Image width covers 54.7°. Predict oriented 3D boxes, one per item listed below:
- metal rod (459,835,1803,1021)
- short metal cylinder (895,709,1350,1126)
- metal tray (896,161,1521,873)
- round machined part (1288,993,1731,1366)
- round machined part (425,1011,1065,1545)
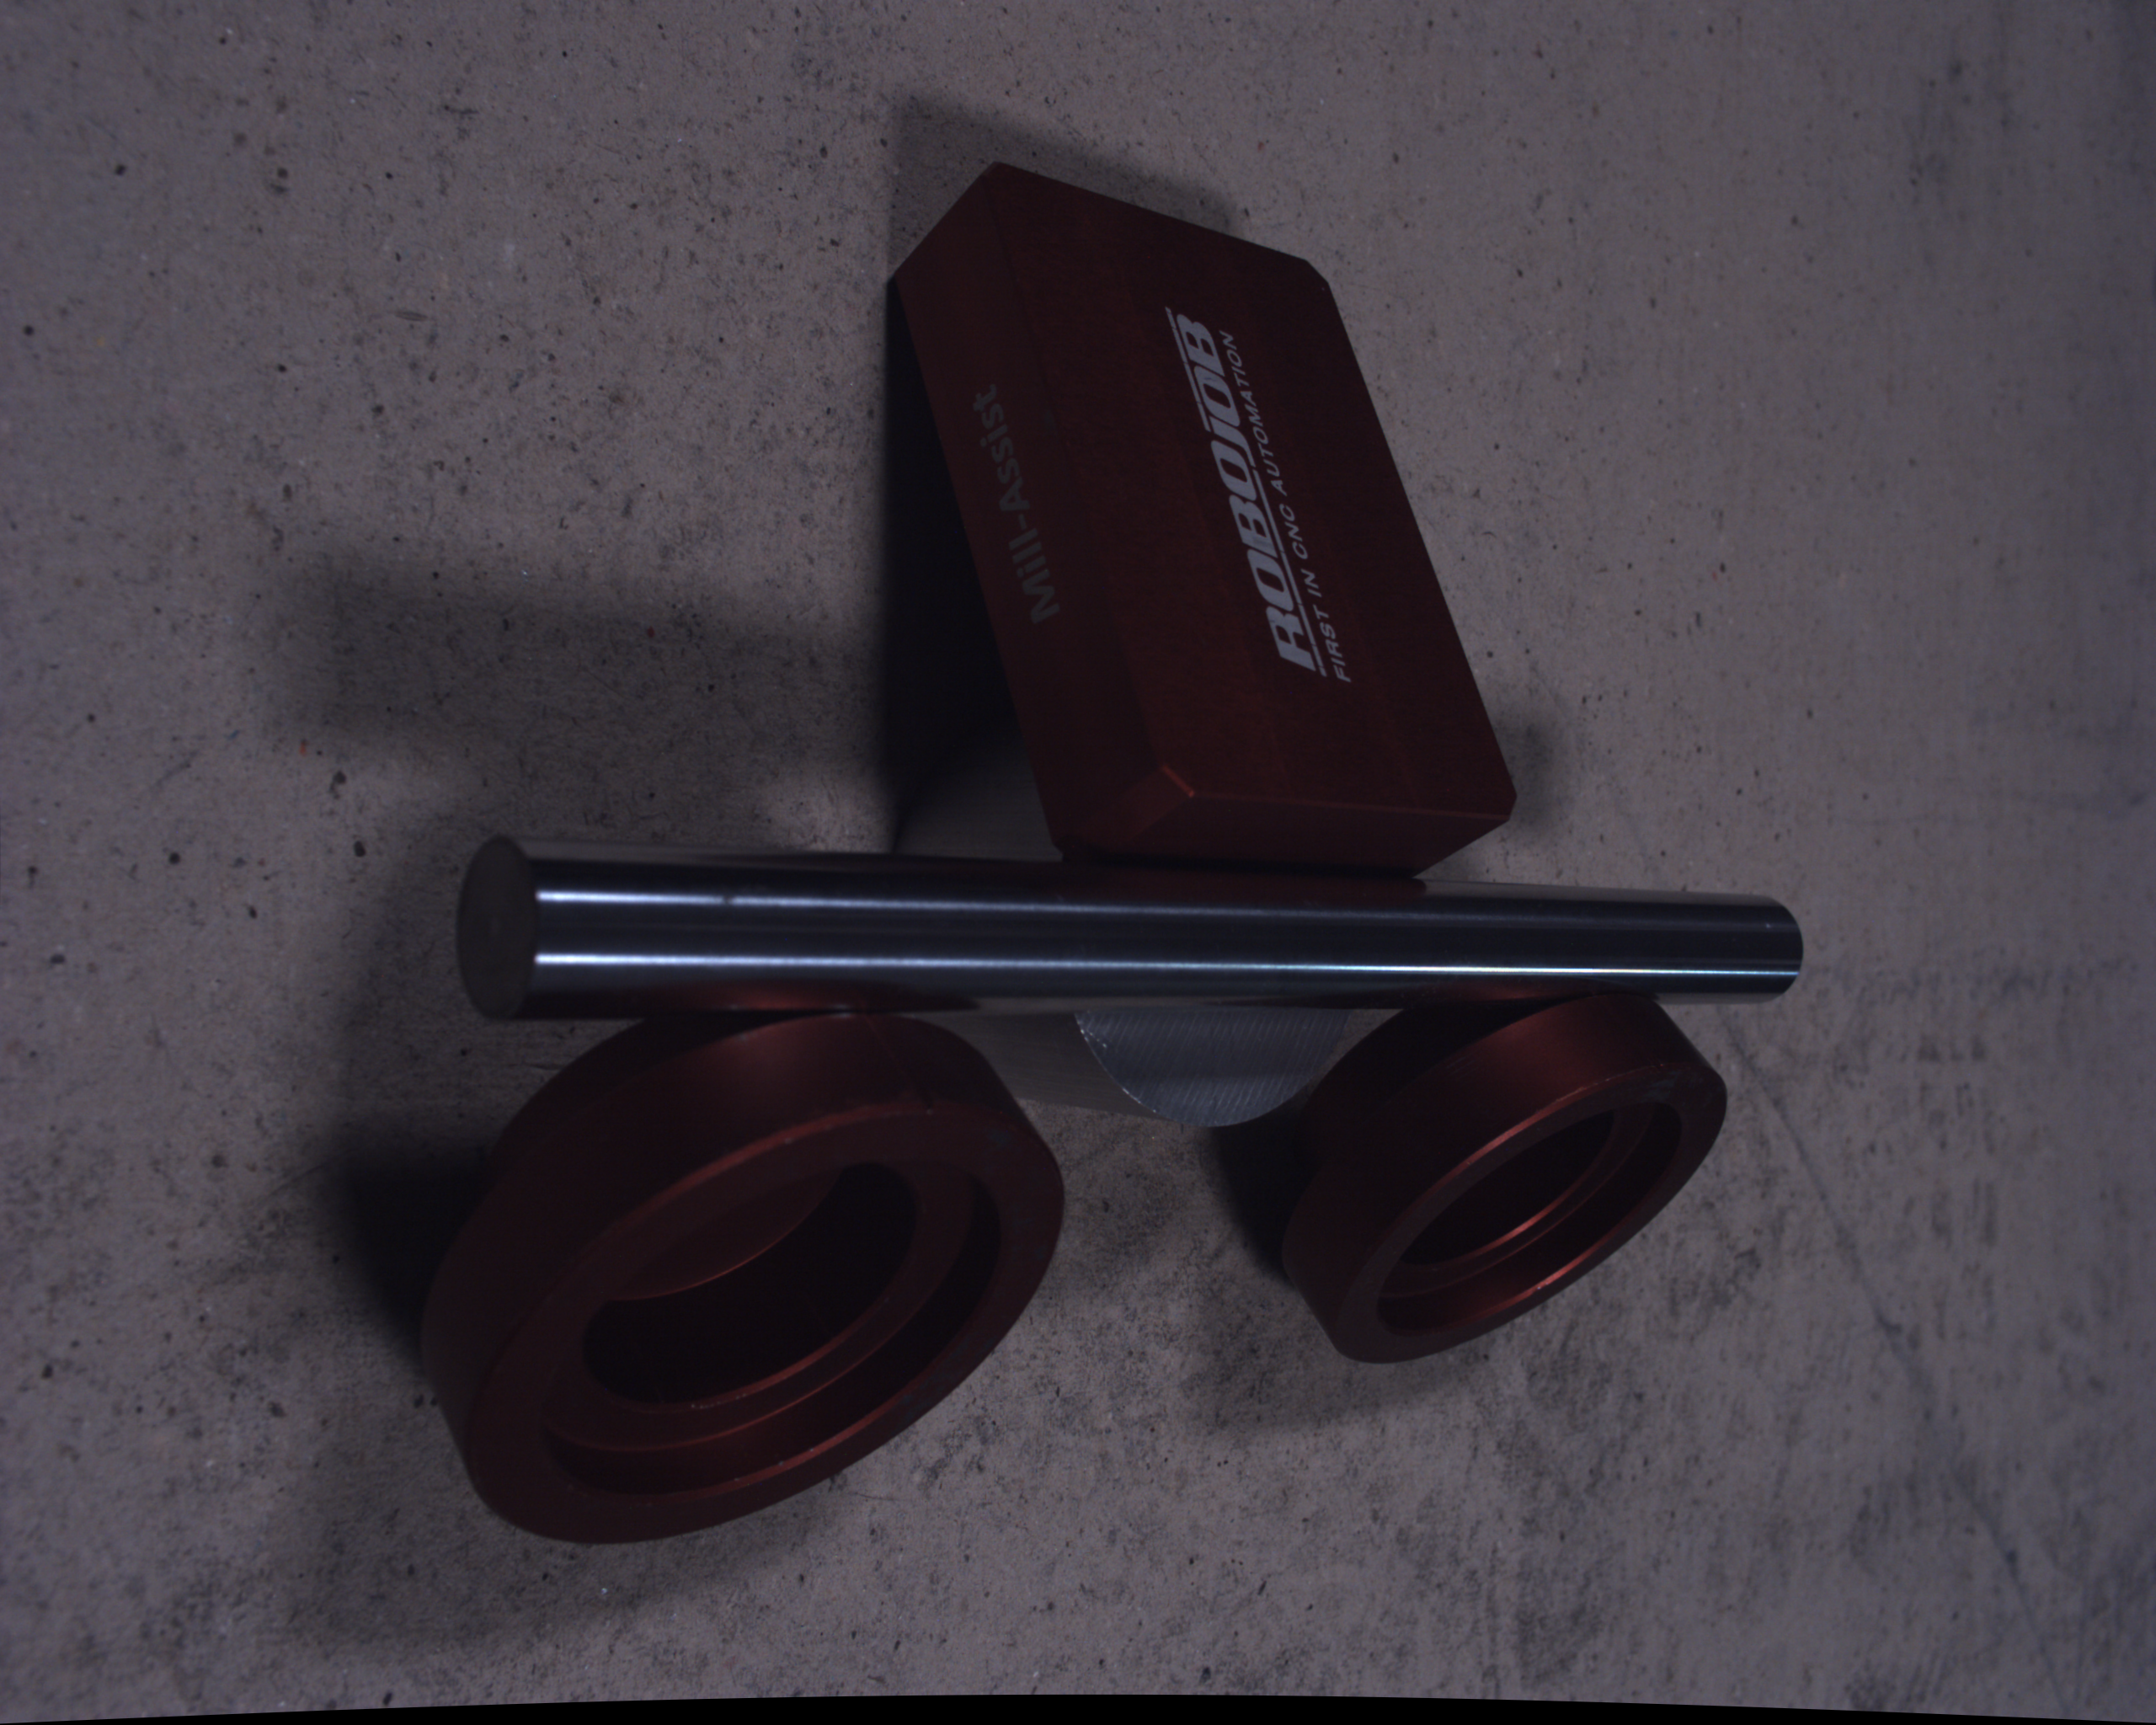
[{"bbox_3d":[0.038,0.014,0.376,0.302,0.025,0.025,3,88,-40],"label":"metal rod"},{"bbox_3d":[0.011,0.008,0.401,0.081,0.050,0.079,0,90,-40],"label":"short metal cylinder"},{"bbox_3d":[0.024,-0.061,0.390,0.091,0.030,0.130,3,62,-40],"label":"metal tray"},{"bbox_3d":[0.087,0.061,0.448,0.099,0.042,0.097,-22,144,-17],"label":"round machined part"},{"bbox_3d":[-0.055,0.059,0.330,0.099,0.042,0.097,-24,141,-21],"label":"round machined part"}]
